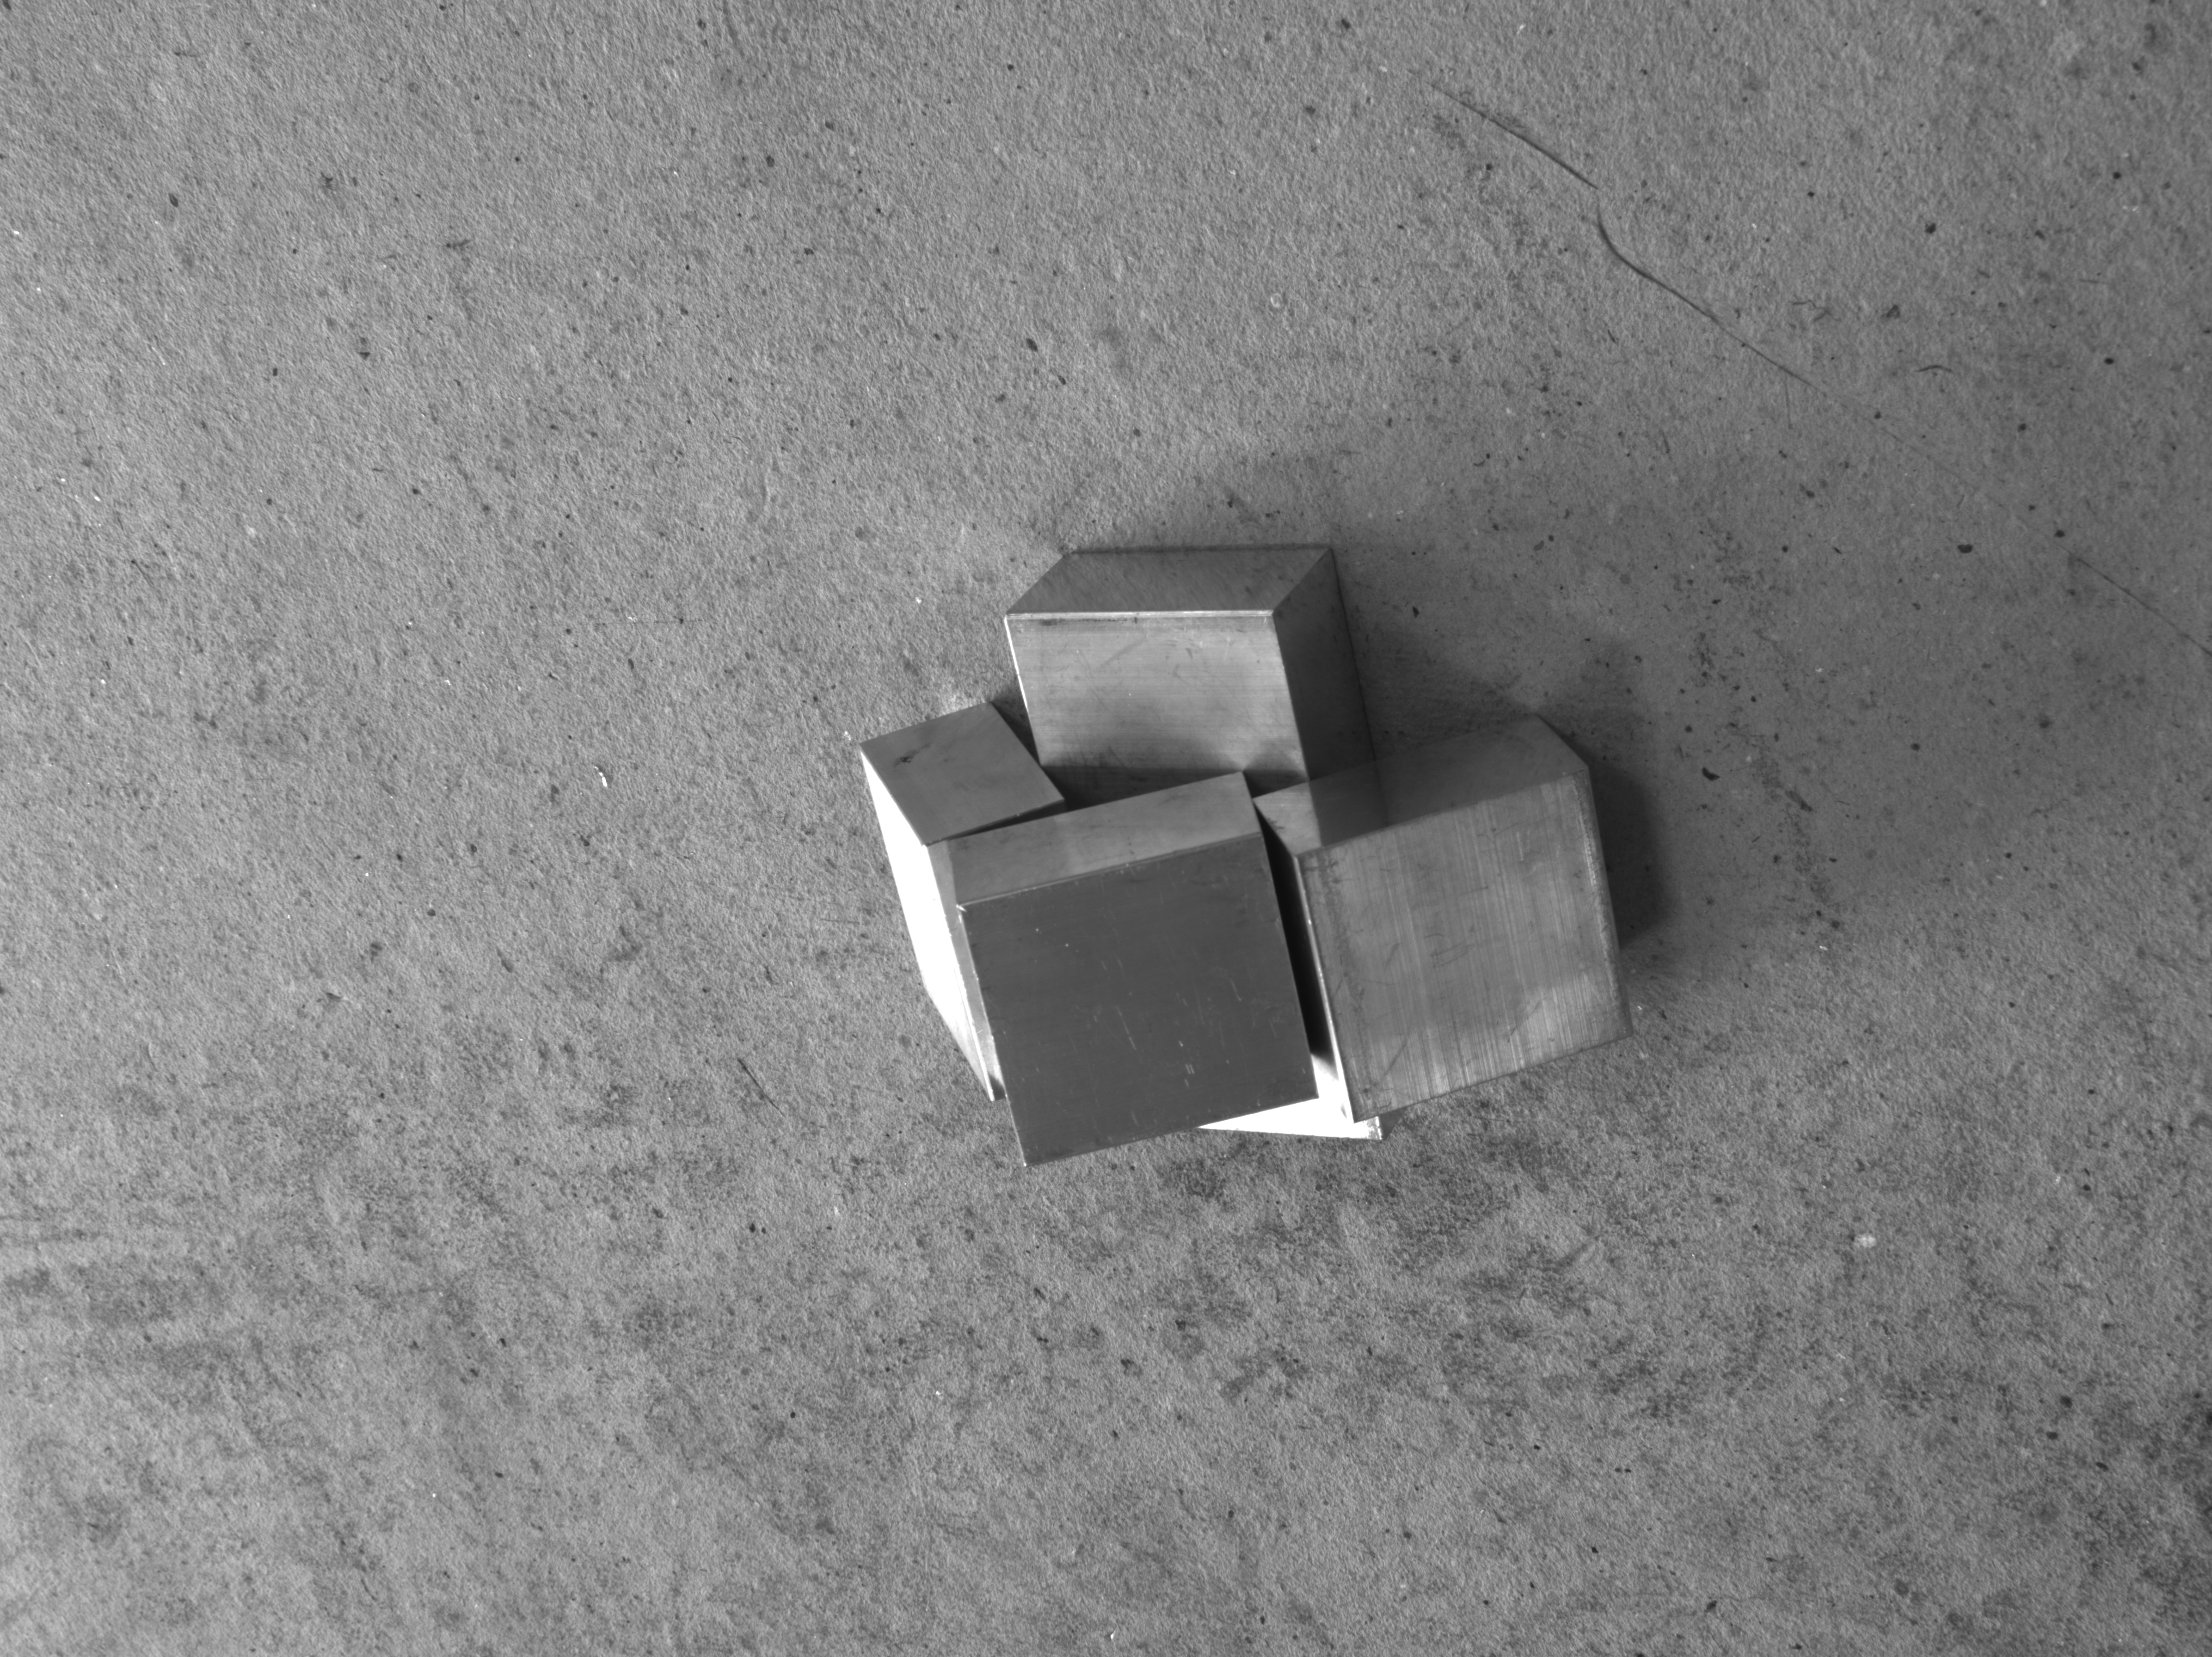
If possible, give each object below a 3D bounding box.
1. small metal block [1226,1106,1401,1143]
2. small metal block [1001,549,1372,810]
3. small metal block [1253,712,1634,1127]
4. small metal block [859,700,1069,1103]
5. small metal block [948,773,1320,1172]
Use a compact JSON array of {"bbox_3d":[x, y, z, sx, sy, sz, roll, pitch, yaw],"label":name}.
[{"bbox_3d":[0.026,0.026,0.644,0.050,0.025,0.050,1,119,28],"label":"small metal block"},{"bbox_3d":[0.015,-0.019,0.623,0.050,0.025,0.050,1,119,28],"label":"small metal block"},{"bbox_3d":[0.055,0.015,0.606,0.050,0.025,0.050,-17,116,-8],"label":"small metal block"},{"bbox_3d":[-0.020,0.012,0.643,0.025,0.050,0.050,-18,116,-10],"label":"small metal block"},{"bbox_3d":[0.005,0.024,0.608,0.050,0.025,0.050,-13,115,0],"label":"small metal block"}]
